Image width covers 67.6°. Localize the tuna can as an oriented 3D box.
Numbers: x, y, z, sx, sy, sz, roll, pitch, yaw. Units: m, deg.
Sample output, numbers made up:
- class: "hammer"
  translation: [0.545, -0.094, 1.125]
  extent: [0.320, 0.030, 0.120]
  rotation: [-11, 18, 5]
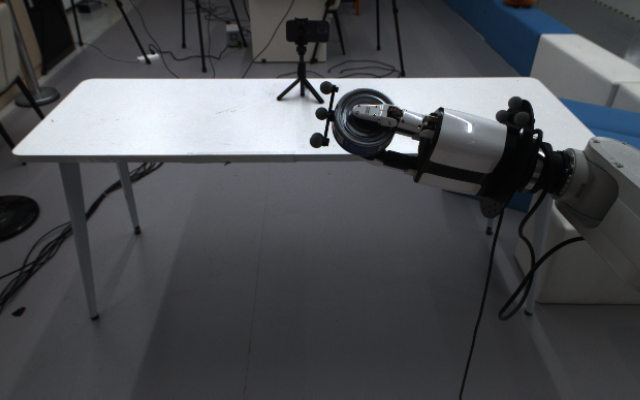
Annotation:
- class: "tuna can"
  translation: [0.063, -0.101, 0.639]
  extent: [0.085, 0.034, 0.085]
  rotation: [2, 73, -5]
